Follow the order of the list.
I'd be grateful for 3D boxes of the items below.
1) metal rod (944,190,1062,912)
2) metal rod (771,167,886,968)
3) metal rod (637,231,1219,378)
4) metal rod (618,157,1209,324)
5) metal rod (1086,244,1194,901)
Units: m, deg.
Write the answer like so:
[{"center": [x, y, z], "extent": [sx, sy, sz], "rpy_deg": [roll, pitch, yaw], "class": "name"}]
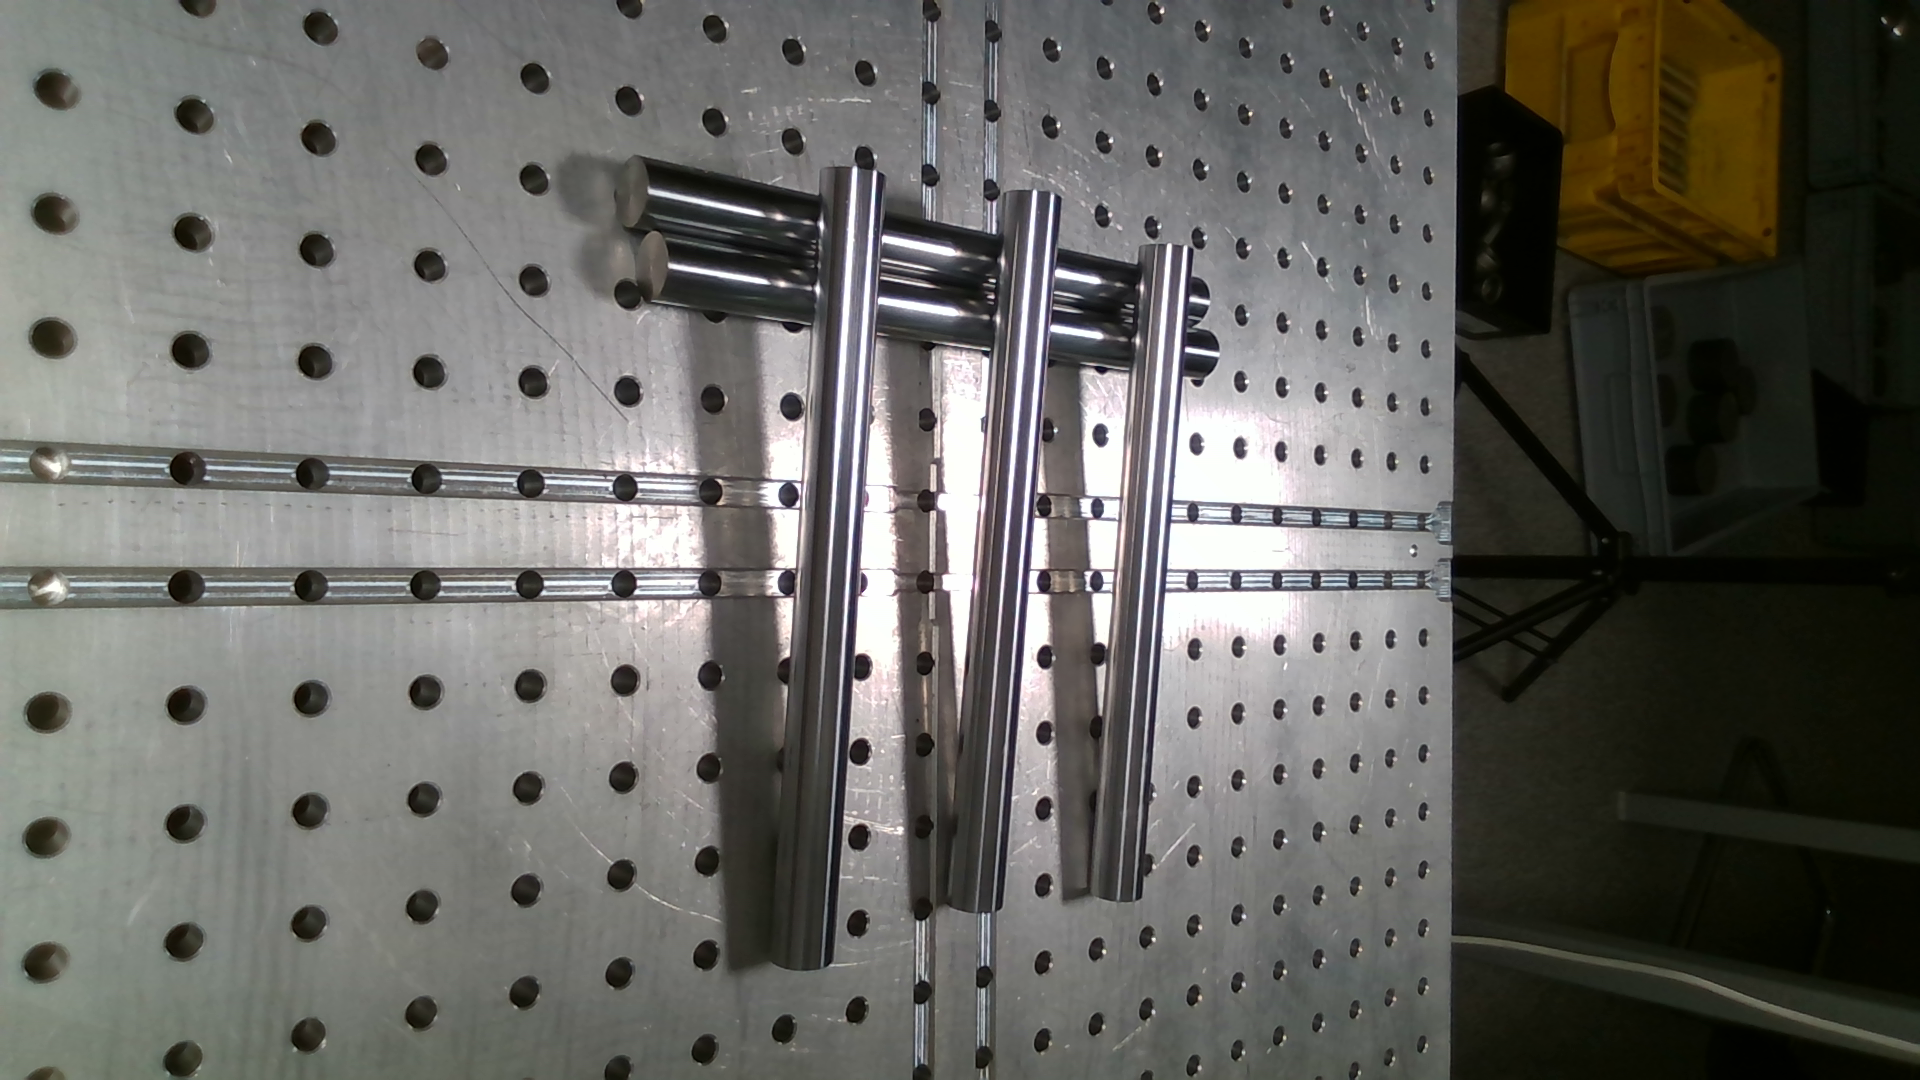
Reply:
[{"center": [0.018, 0.007, 0.581], "extent": [0.025, 0.025, 0.300], "rpy_deg": [1, 95, -40], "class": "metal rod"}, {"center": [-0.050, 0.013, 0.525], "extent": [0.025, 0.025, 0.300], "rpy_deg": [1, 96, -40], "class": "metal rod"}, {"center": [0.005, -0.095, 0.589], "extent": [0.300, 0.025, 0.025], "rpy_deg": [1, 89, -40], "class": "metal rod"}, {"center": [-0.001, -0.120, 0.584], "extent": [0.300, 0.025, 0.025], "rpy_deg": [1, 89, -40], "class": "metal rod"}, {"center": [0.083, 0.017, 0.637], "extent": [0.025, 0.025, 0.300], "rpy_deg": [0, 96, -40], "class": "metal rod"}]
